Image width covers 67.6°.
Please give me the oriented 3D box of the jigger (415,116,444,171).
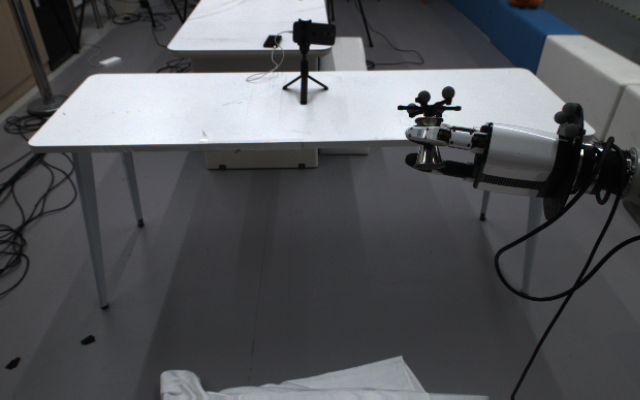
[{"bbox_3d":[0.154,-0.082,0.691,0.043,0.071,0.043,2,-6,0],"label":"jigger"}]
